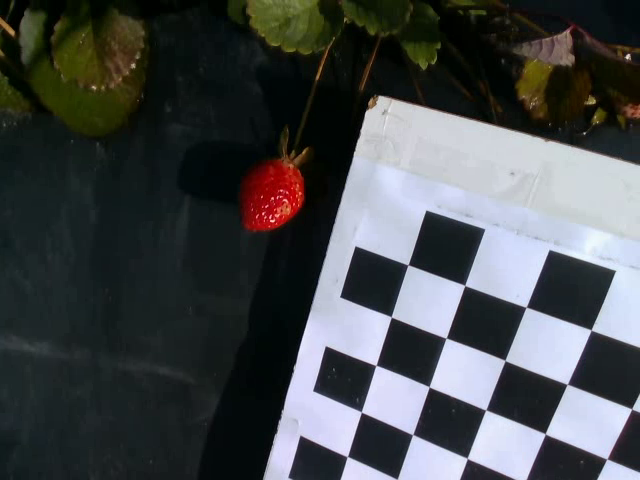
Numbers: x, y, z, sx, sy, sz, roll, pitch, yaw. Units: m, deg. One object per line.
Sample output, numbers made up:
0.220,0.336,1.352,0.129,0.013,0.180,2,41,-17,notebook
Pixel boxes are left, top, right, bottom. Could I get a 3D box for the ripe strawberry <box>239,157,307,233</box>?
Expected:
-0.020,-0.015,0.235,0.034,0.038,0.033,18,-35,16,ripe strawberry
